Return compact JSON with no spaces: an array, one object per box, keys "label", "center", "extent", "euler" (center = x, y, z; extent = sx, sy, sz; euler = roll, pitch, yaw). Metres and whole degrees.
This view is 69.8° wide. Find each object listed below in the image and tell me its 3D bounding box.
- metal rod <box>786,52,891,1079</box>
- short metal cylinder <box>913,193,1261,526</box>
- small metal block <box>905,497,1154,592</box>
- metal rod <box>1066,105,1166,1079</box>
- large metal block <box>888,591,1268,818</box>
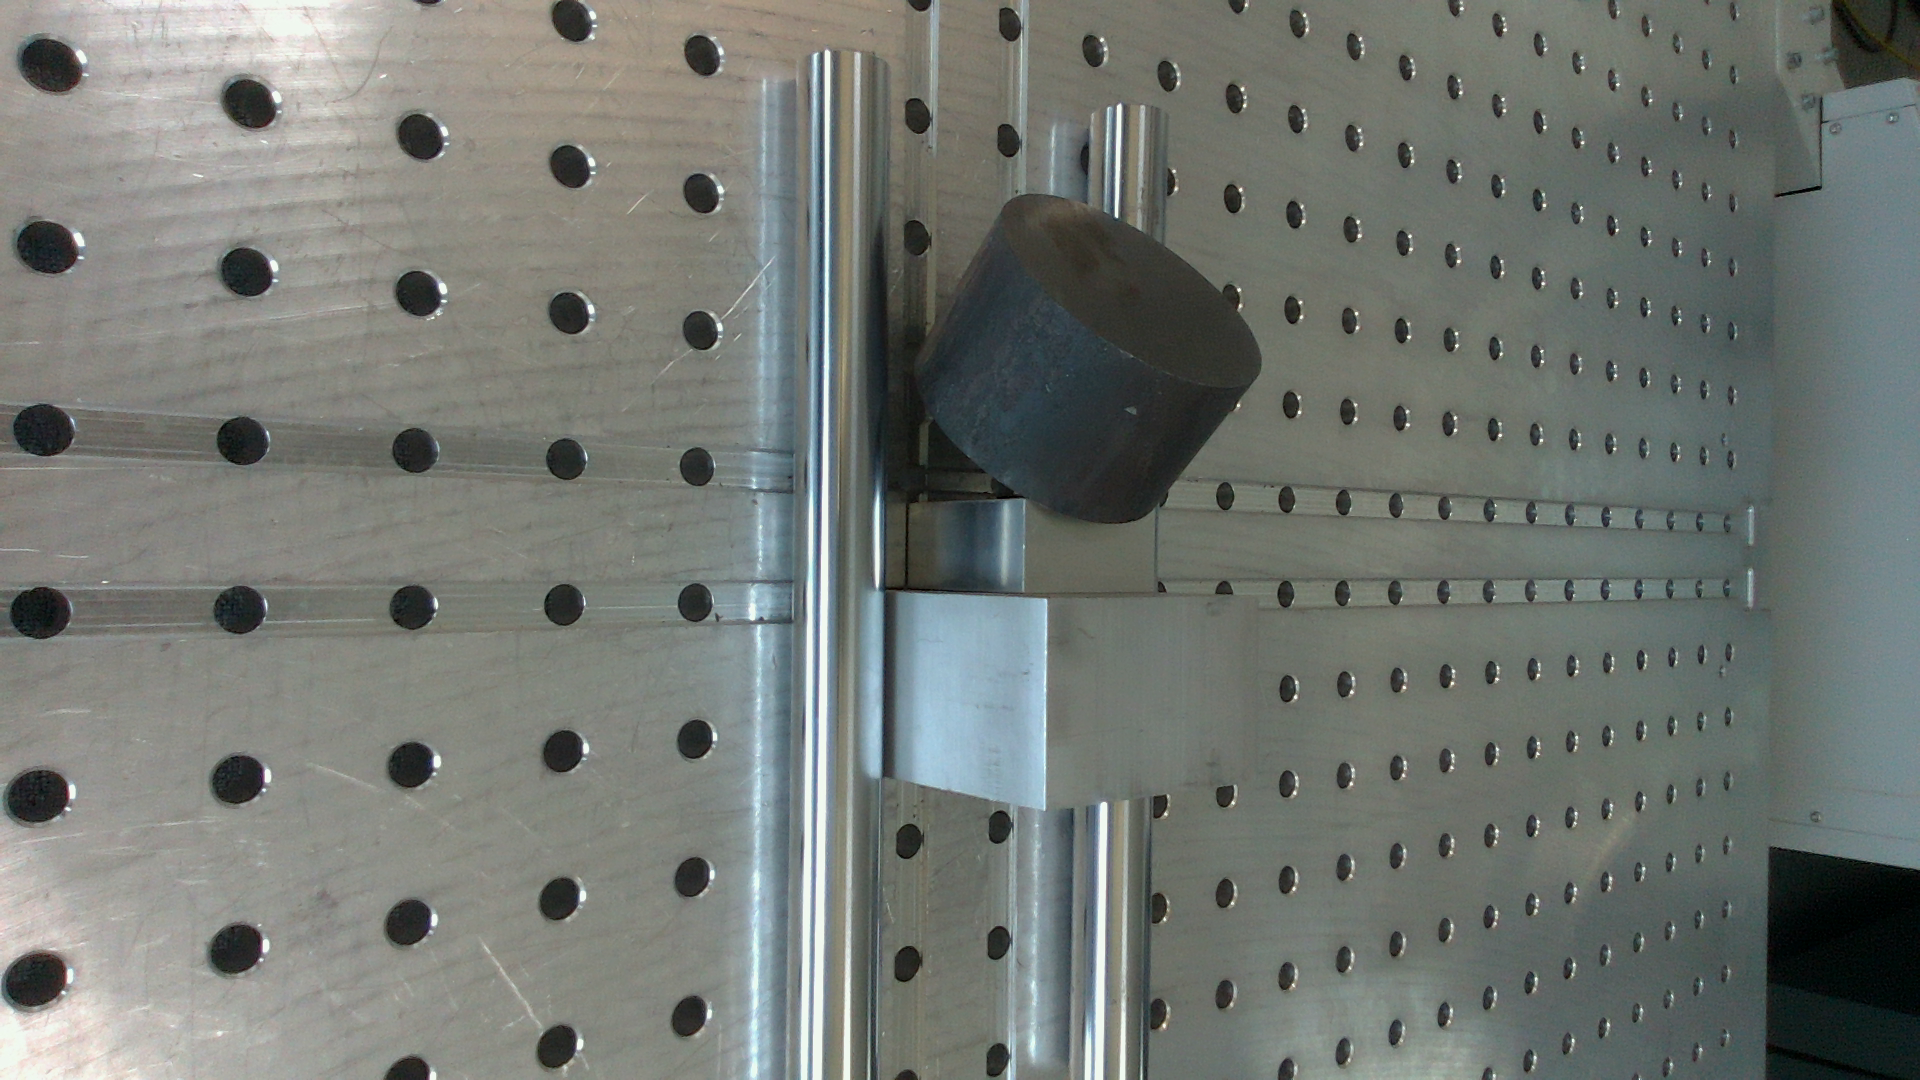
[{"label":"metal rod","center":[-0.032,0.025,0.364],"extent":[0.025,0.025,0.300],"euler":[1,90,-40]},{"label":"short metal cylinder","center":[0.034,-0.050,0.376],"extent":[0.080,0.050,0.080],"euler":[23,35,-17]},{"label":"small metal block","center":[0.020,0.002,0.391],"extent":[0.050,0.050,0.025],"euler":[2,89,-40]},{"label":"metal rod","center":[0.049,0.017,0.432],"extent":[0.025,0.025,0.300],"euler":[2,89,-40]},{"label":"large metal block","center":[0.026,0.040,0.375],"extent":[0.080,0.080,0.050],"euler":[1,89,-40]}]
